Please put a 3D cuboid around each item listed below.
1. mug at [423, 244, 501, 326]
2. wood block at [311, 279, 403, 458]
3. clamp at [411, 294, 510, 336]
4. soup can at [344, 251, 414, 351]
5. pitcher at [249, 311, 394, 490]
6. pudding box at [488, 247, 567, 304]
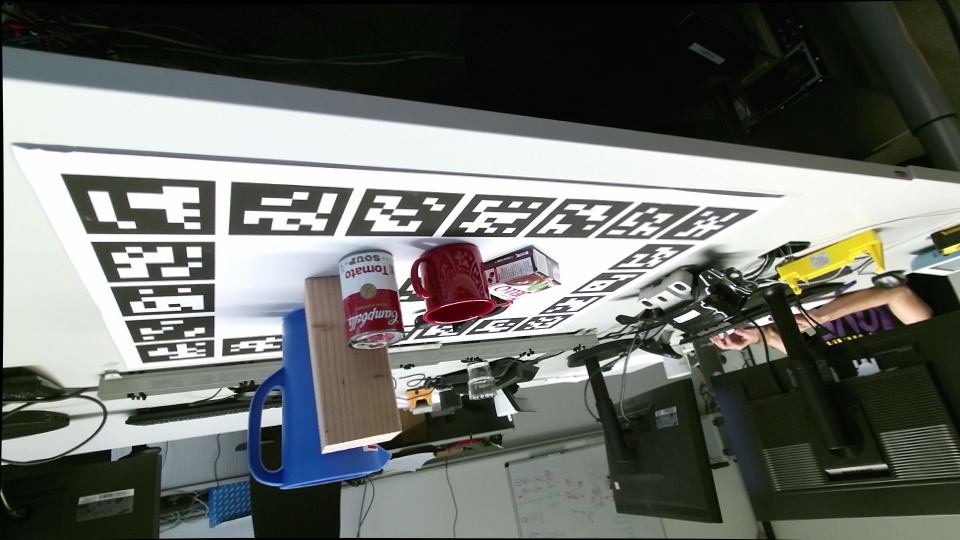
[{"bbox_3d":[-0.032,0.016,0.665,0.093,0.081,0.117,-20,160,23],"label":"mug"},{"bbox_3d":[-0.162,0.122,0.681,0.090,0.205,0.091,0,156,-23],"label":"wood block"},{"bbox_3d":[-0.019,0.072,0.901,0.165,0.036,0.122,-26,149,29],"label":"clamp"},{"bbox_3d":[-0.121,0.037,0.634,0.068,0.101,0.068,-13,157,-5],"label":"soup can"},{"bbox_3d":[-0.231,0.186,0.763,0.189,0.241,0.133,-5,160,-28],"label":"pitcher"},{"bbox_3d":[0.068,0.010,0.779,0.090,0.038,0.114,-24,157,20],"label":"pudding box"}]
